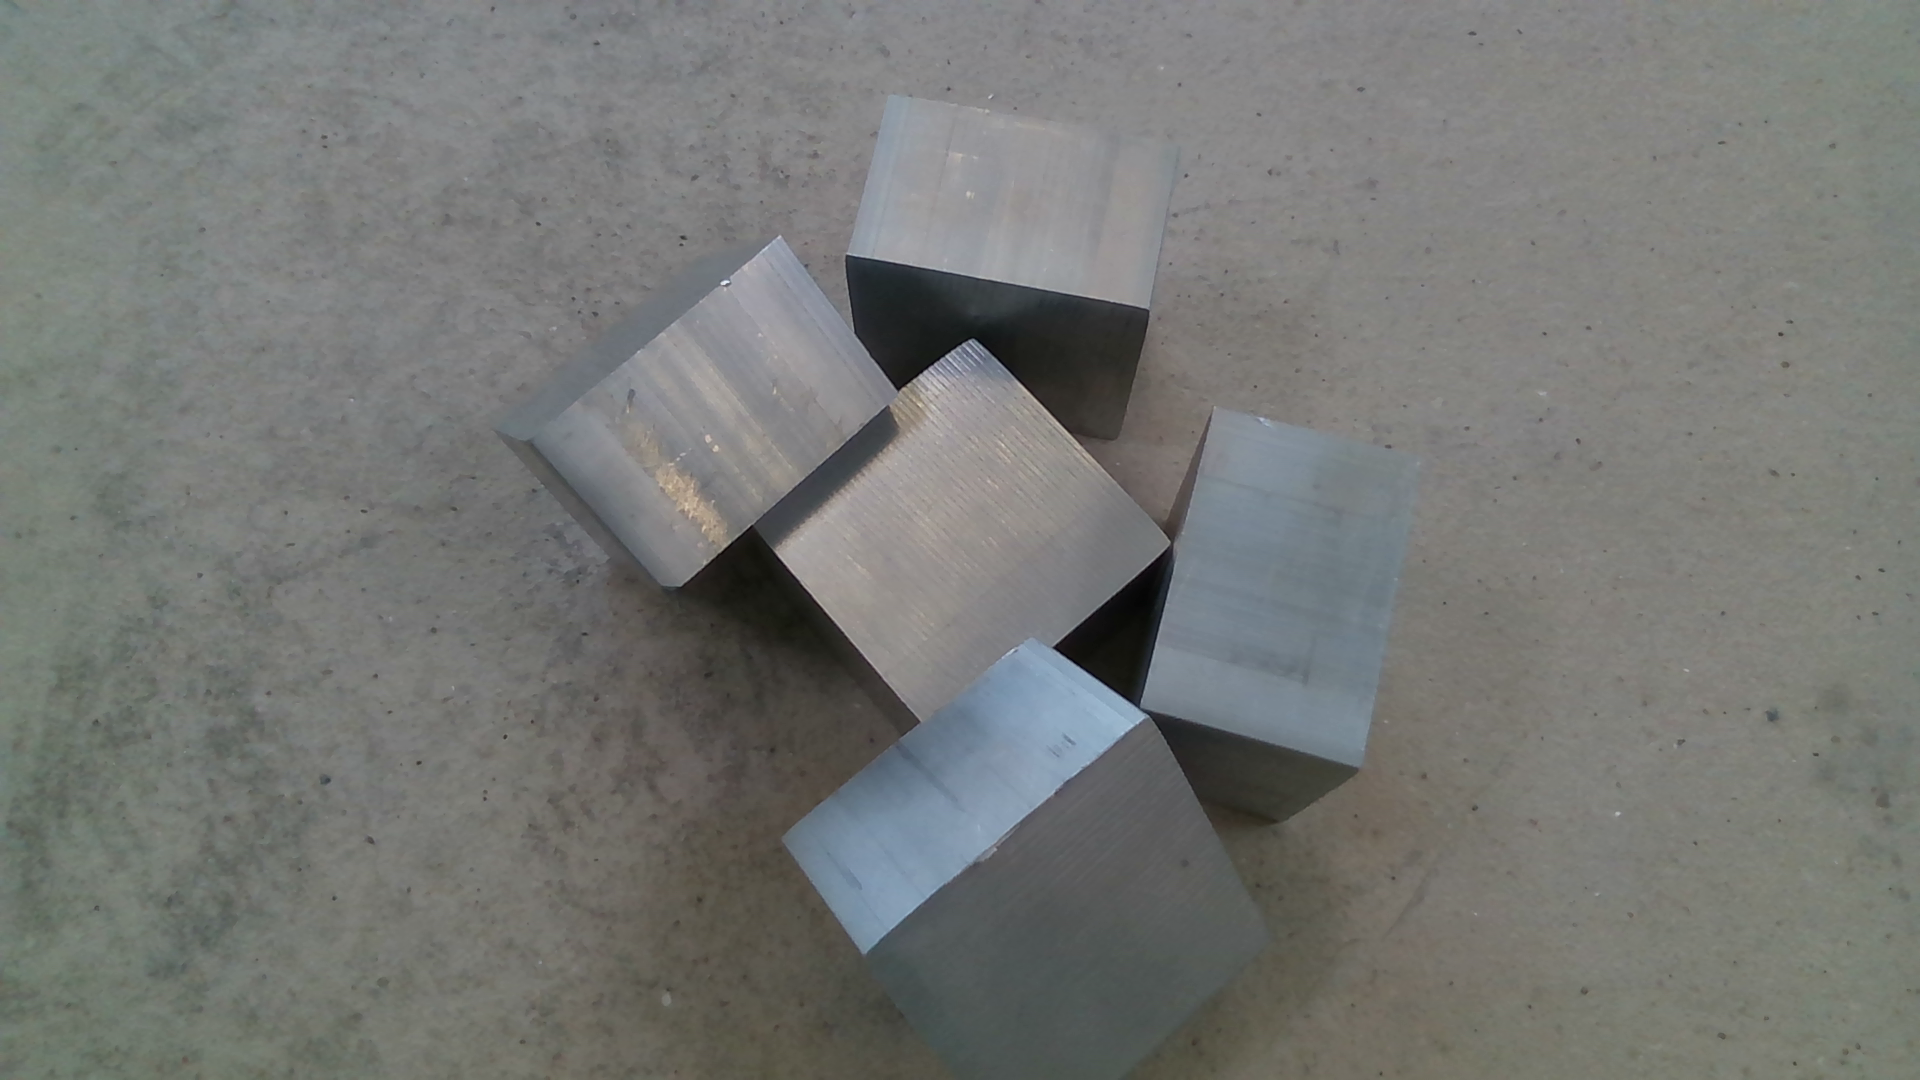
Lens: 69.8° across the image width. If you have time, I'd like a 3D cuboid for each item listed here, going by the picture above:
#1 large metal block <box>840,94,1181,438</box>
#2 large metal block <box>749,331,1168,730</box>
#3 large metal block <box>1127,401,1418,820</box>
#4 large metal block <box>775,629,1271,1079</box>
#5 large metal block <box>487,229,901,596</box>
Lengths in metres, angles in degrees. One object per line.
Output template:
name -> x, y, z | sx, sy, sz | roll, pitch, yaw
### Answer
large metal block -> 0.014, -0.075, 0.394 | 0.080, 0.080, 0.050 | 11, 71, 5
large metal block -> -0.001, 0.005, 0.379 | 0.080, 0.050, 0.080 | -40, 75, -12
large metal block -> 0.075, 0.022, 0.359 | 0.050, 0.080, 0.080 | 15, 71, 5
large metal block -> 0.017, 0.083, 0.330 | 0.080, 0.080, 0.050 | -38, 31, -12
large metal block -> -0.075, -0.036, 0.373 | 0.080, 0.080, 0.050 | -43, 113, -14
